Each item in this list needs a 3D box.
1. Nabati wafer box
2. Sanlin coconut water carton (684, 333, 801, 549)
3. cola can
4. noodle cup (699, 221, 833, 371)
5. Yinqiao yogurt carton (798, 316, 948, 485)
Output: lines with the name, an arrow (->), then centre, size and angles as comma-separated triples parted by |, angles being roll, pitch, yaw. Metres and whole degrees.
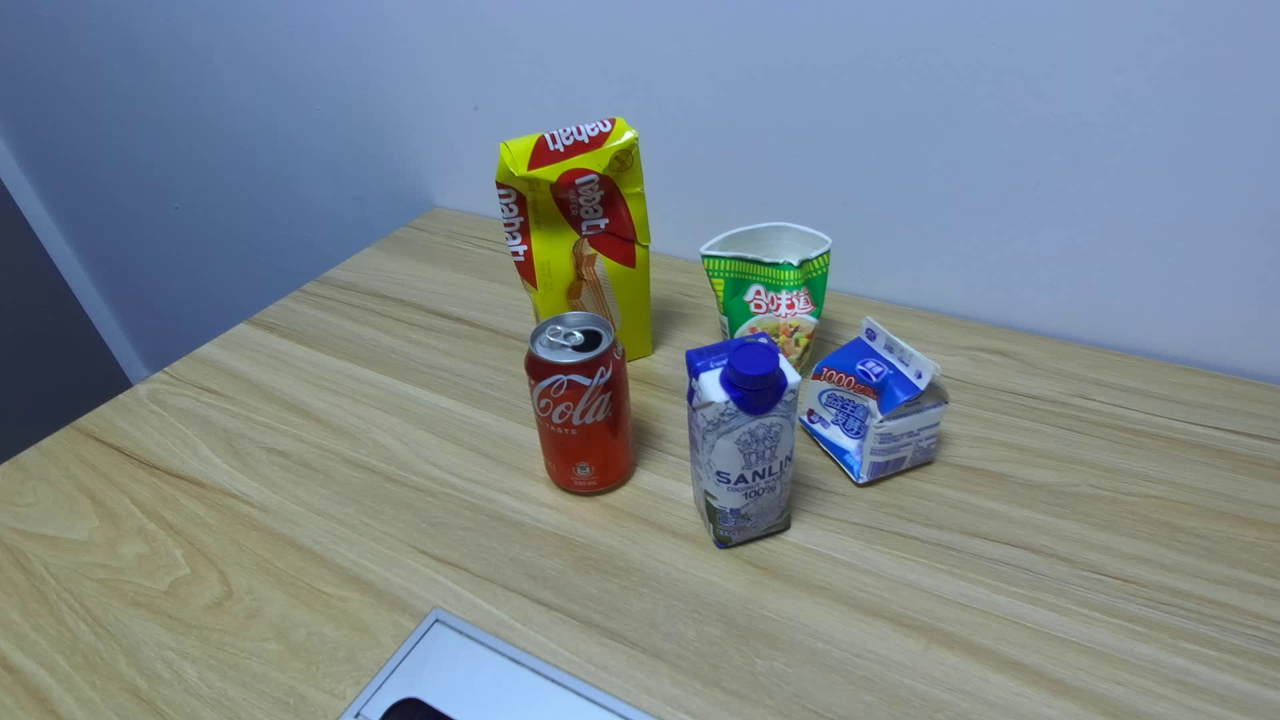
Nabati wafer box -> -0.046, -0.080, 0.556 | 0.107, 0.205, 0.042 | -15, 40, -13
Sanlin coconut water carton -> 0.062, 0.046, 0.429 | 0.061, 0.144, 0.060 | -15, 37, -11
cola can -> -0.039, 0.030, 0.485 | 0.068, 0.120, 0.067 | -3, 37, 3
noodle cup -> 0.106, -0.043, 0.568 | 0.082, 0.122, 0.075 | 13, 32, 35
Yinqiao yogurt carton -> 0.167, 0.025, 0.492 | 0.071, 0.094, 0.077 | -13, 37, -20
